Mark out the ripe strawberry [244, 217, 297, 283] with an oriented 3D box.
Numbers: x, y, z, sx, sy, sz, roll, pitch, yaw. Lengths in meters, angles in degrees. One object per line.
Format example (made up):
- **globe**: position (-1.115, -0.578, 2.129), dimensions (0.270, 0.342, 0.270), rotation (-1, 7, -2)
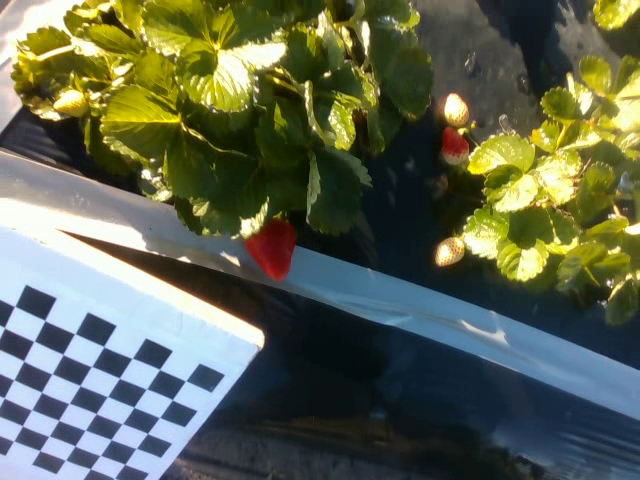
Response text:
- **ripe strawberry**: position (-0.041, 0.006, 0.472), dimensions (0.045, 0.063, 0.049), rotation (-28, -34, 17)
